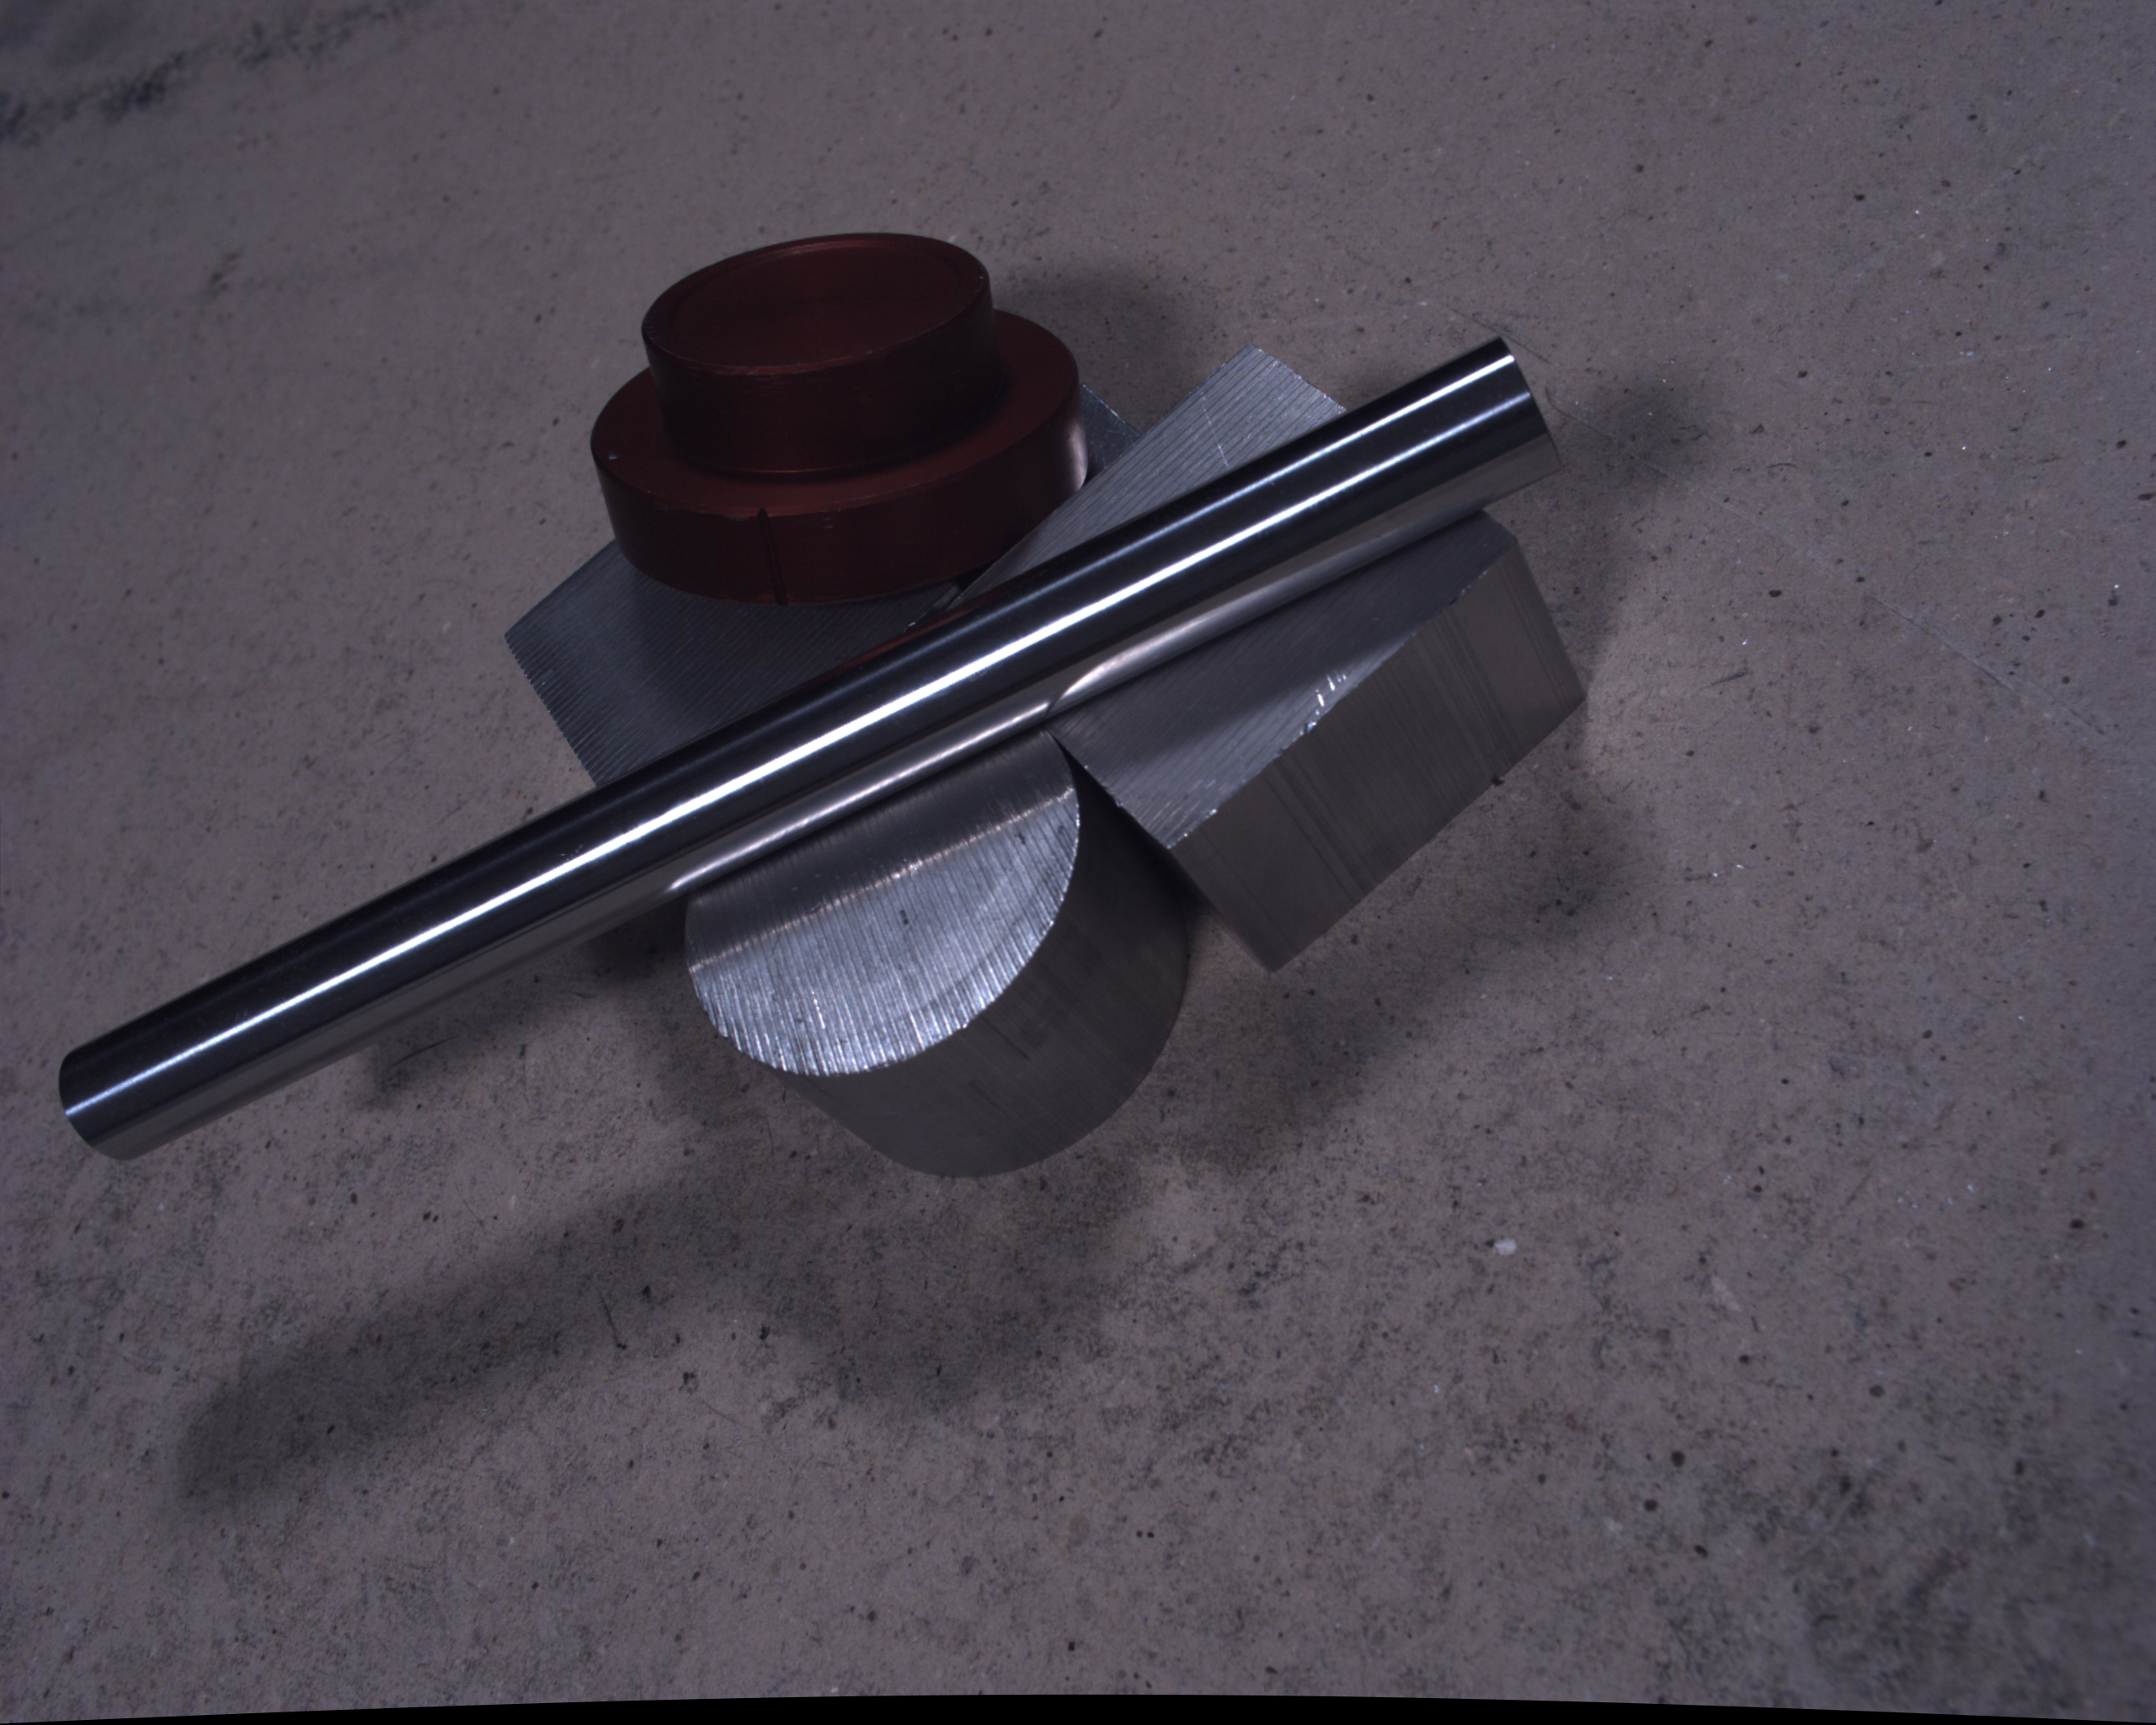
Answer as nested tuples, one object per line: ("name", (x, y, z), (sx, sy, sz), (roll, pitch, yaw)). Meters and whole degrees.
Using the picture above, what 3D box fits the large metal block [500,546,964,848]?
("large metal block", (-0.063, -0.039, 0.443), (0.080, 0.050, 0.080), (-41, 51, 0))

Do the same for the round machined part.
("round machined part", (-0.049, -0.094, 0.420), (0.099, 0.042, 0.098), (-4, 37, 3))

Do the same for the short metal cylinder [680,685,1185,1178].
("short metal cylinder", (-0.027, 0.013, 0.393), (0.080, 0.050, 0.080), (-13, 56, 20))

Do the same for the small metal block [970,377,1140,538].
("small metal block", (-0.001, -0.068, 0.445), (0.050, 0.025, 0.050), (-40, 51, 0))

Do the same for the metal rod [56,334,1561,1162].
("metal rod", (-0.058, -0.015, 0.379), (0.301, 0.025, 0.025), (-25, 53, 12))

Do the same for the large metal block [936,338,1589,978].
("large metal block", (0.034, -0.040, 0.395), (0.080, 0.050, 0.080), (-41, 51, 0))
